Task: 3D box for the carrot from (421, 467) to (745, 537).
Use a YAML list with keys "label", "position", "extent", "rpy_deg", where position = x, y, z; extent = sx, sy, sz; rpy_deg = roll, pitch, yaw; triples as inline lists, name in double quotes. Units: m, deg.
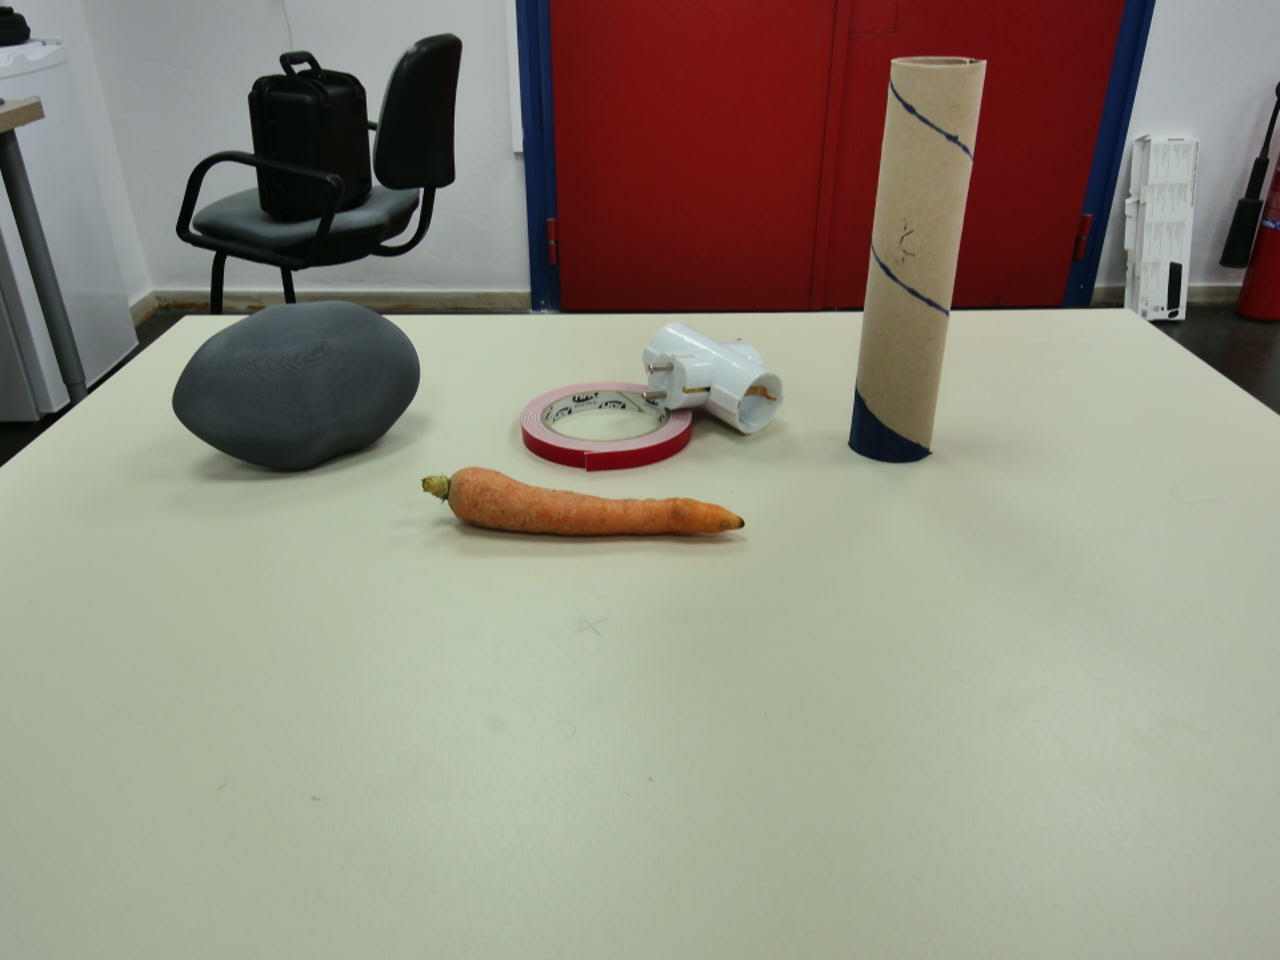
- label: "carrot"
  position: [-0.031, 0.013, 0.528]
  extent: [0.173, 0.032, 0.030]
  rpy_deg: [4, 26, 8]
